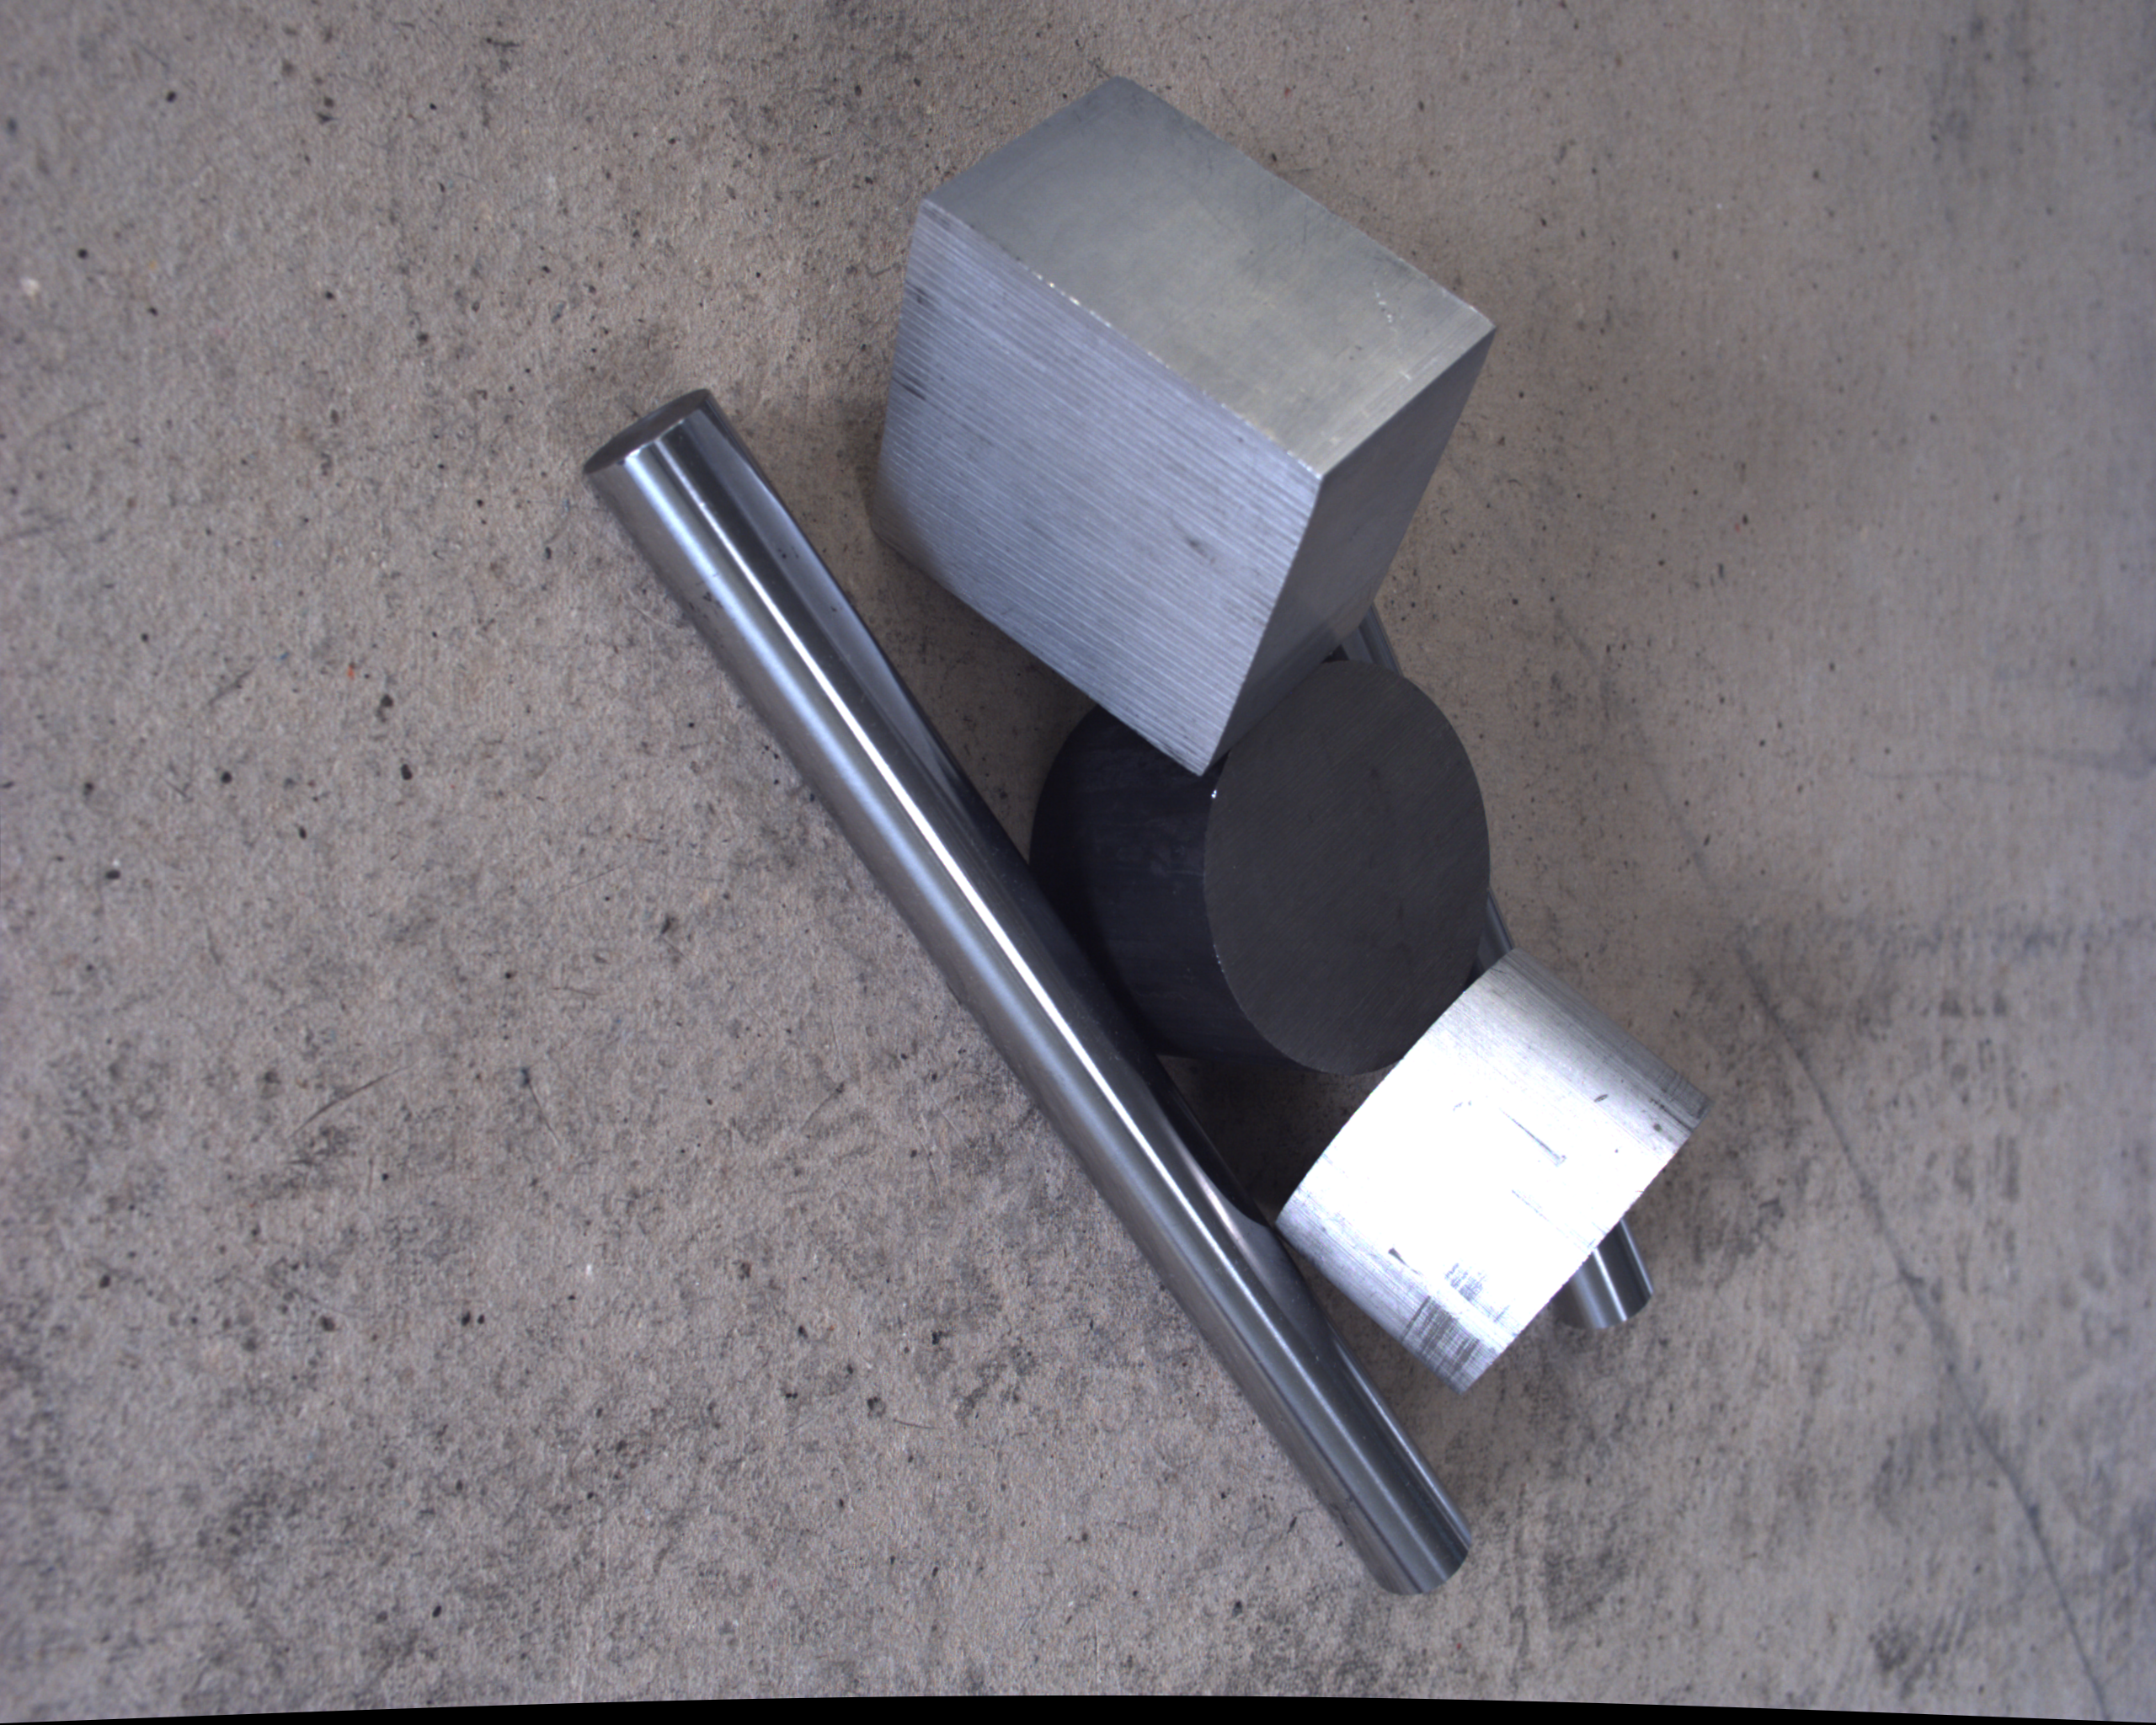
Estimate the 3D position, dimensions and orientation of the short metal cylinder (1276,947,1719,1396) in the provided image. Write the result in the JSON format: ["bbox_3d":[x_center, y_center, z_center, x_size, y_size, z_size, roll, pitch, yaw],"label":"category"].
[{"bbox_3d":[0.087,0.064,0.435,0.050,0.080,0.080,41,55,15],"label":"short metal cylinder"}]

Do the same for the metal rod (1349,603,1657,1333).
[{"bbox_3d":[0.069,-0.018,0.463,0.025,0.025,0.299,-40,114,-33],"label":"metal rod"}]

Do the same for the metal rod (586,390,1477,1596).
[{"bbox_3d":[0.004,0.042,0.408,0.025,0.025,0.299,-48,119,-29],"label":"metal rod"}]

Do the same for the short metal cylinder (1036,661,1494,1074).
[{"bbox_3d":[0.039,0.001,0.422,0.081,0.050,0.080,0,90,-40],"label":"short metal cylinder"}]

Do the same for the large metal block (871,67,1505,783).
[{"bbox_3d":[0.015,-0.074,0.362,0.080,0.080,0.050,38,58,13],"label":"large metal block"}]
